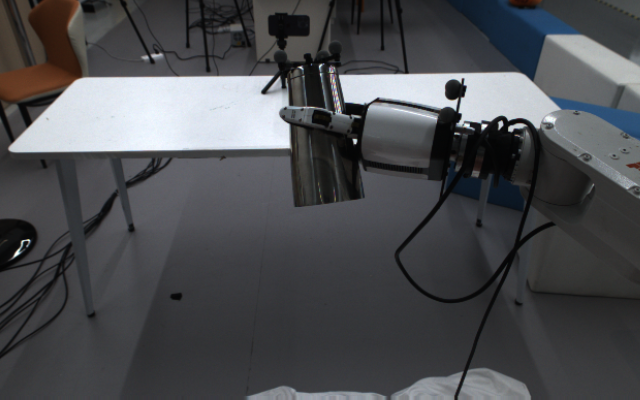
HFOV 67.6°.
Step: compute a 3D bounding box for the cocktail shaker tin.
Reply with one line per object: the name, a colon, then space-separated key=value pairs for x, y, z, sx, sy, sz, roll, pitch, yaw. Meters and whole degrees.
cocktail shaker tin: x=0.001 y=-0.081 z=0.620 sx=0.093 sy=0.170 sz=0.093 roll=-8 pitch=1 yaw=0
